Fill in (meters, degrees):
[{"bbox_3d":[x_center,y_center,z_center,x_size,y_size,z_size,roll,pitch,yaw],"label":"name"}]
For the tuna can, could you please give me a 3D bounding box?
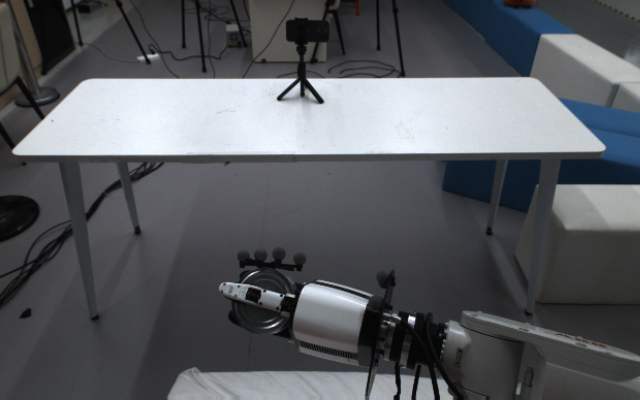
[{"bbox_3d":[-0.068,0.135,0.640,0.085,0.034,0.085,-3,73,10],"label":"tuna can"}]
